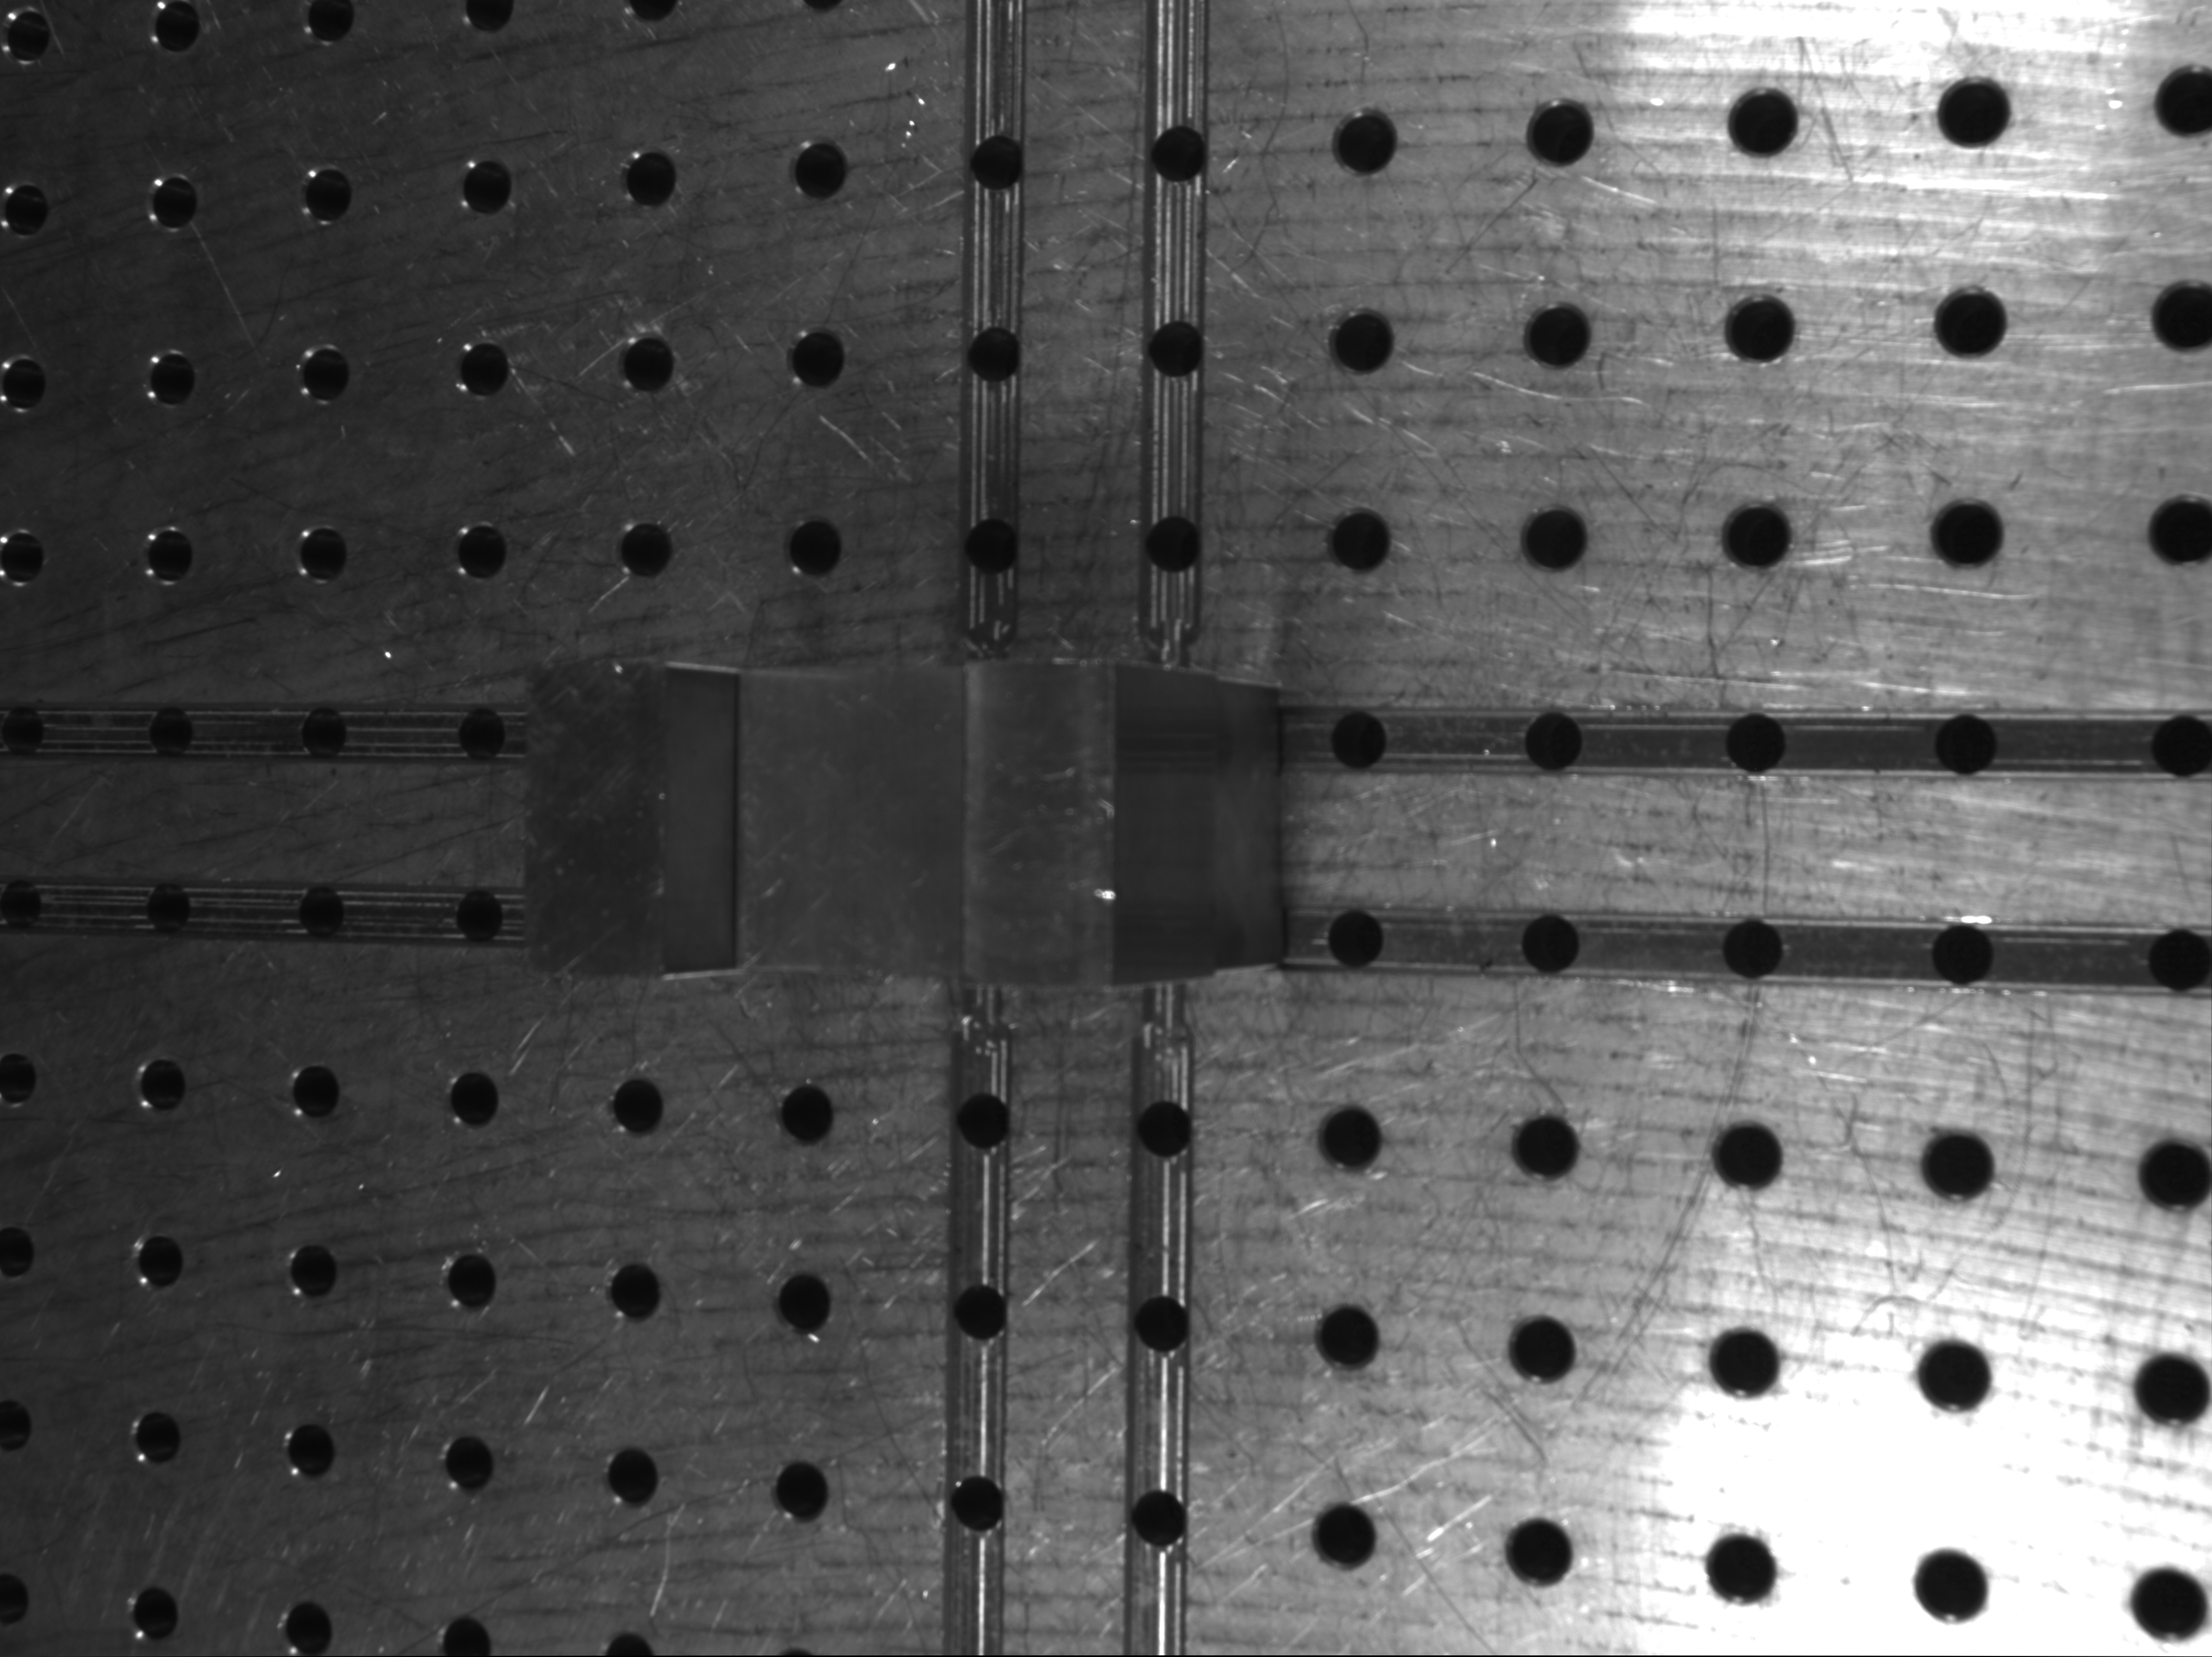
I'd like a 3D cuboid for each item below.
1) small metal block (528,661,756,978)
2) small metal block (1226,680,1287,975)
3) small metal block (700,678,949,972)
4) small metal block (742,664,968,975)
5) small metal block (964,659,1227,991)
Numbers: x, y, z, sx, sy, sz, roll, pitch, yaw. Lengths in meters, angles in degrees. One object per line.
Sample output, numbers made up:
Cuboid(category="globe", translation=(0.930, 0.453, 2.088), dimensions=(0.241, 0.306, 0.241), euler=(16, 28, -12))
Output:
Cuboid(category="small metal block", translation=(-0.072, -0.001, 0.605), dimensions=(0.025, 0.050, 0.050), euler=(1, 90, 20))
Cuboid(category="small metal block", translation=(0.012, 0.000, 0.629), dimensions=(0.025, 0.050, 0.050), euler=(-1, 90, 20))
Cuboid(category="small metal block", translation=(-0.049, -0.001, 0.650), dimensions=(0.025, 0.050, 0.050), euler=(1, 90, 20))
Cuboid(category="small metal block", translation=(-0.032, -0.002, 0.606), dimensions=(0.050, 0.025, 0.050), euler=(1, 90, 20))
Cuboid(category="small metal block", translation=(-0.001, 0.000, 0.579), dimensions=(0.025, 0.050, 0.050), euler=(1, 90, 20))
